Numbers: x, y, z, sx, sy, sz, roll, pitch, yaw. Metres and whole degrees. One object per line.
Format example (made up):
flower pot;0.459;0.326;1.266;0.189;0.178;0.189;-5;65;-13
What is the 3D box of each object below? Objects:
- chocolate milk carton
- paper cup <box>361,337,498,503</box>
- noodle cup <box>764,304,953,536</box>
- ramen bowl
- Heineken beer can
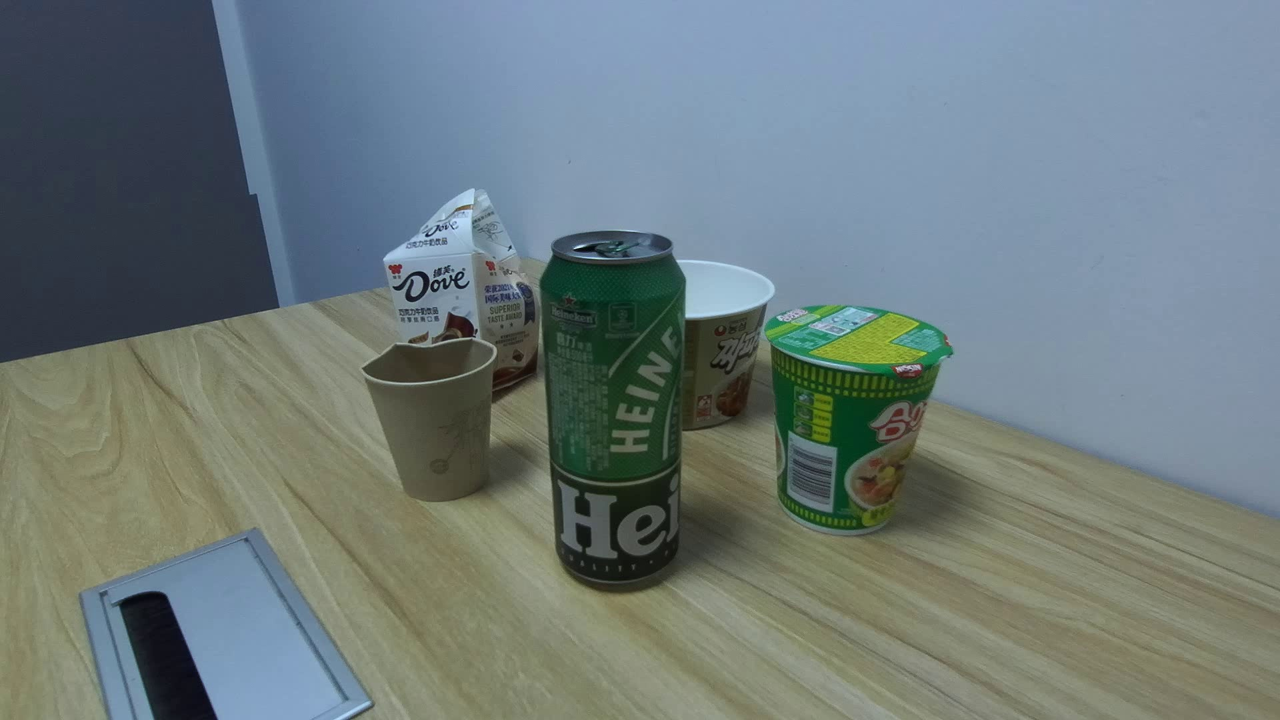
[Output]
chocolate milk carton;-0.139;-0.050;0.562;0.089;0.155;0.077;-7;13;24
paper cup;-0.122;0.037;0.432;0.068;0.081;0.073;7;24;16
noodle cup;0.115;0.035;0.399;0.097;0.110;0.097;1;23;0
ramen bowl;0.027;-0.014;0.532;0.140;0.095;0.140;1;24;0
Heineken beer can;-0.012;0.029;0.350;0.067;0.169;0.067;-1;16;0
